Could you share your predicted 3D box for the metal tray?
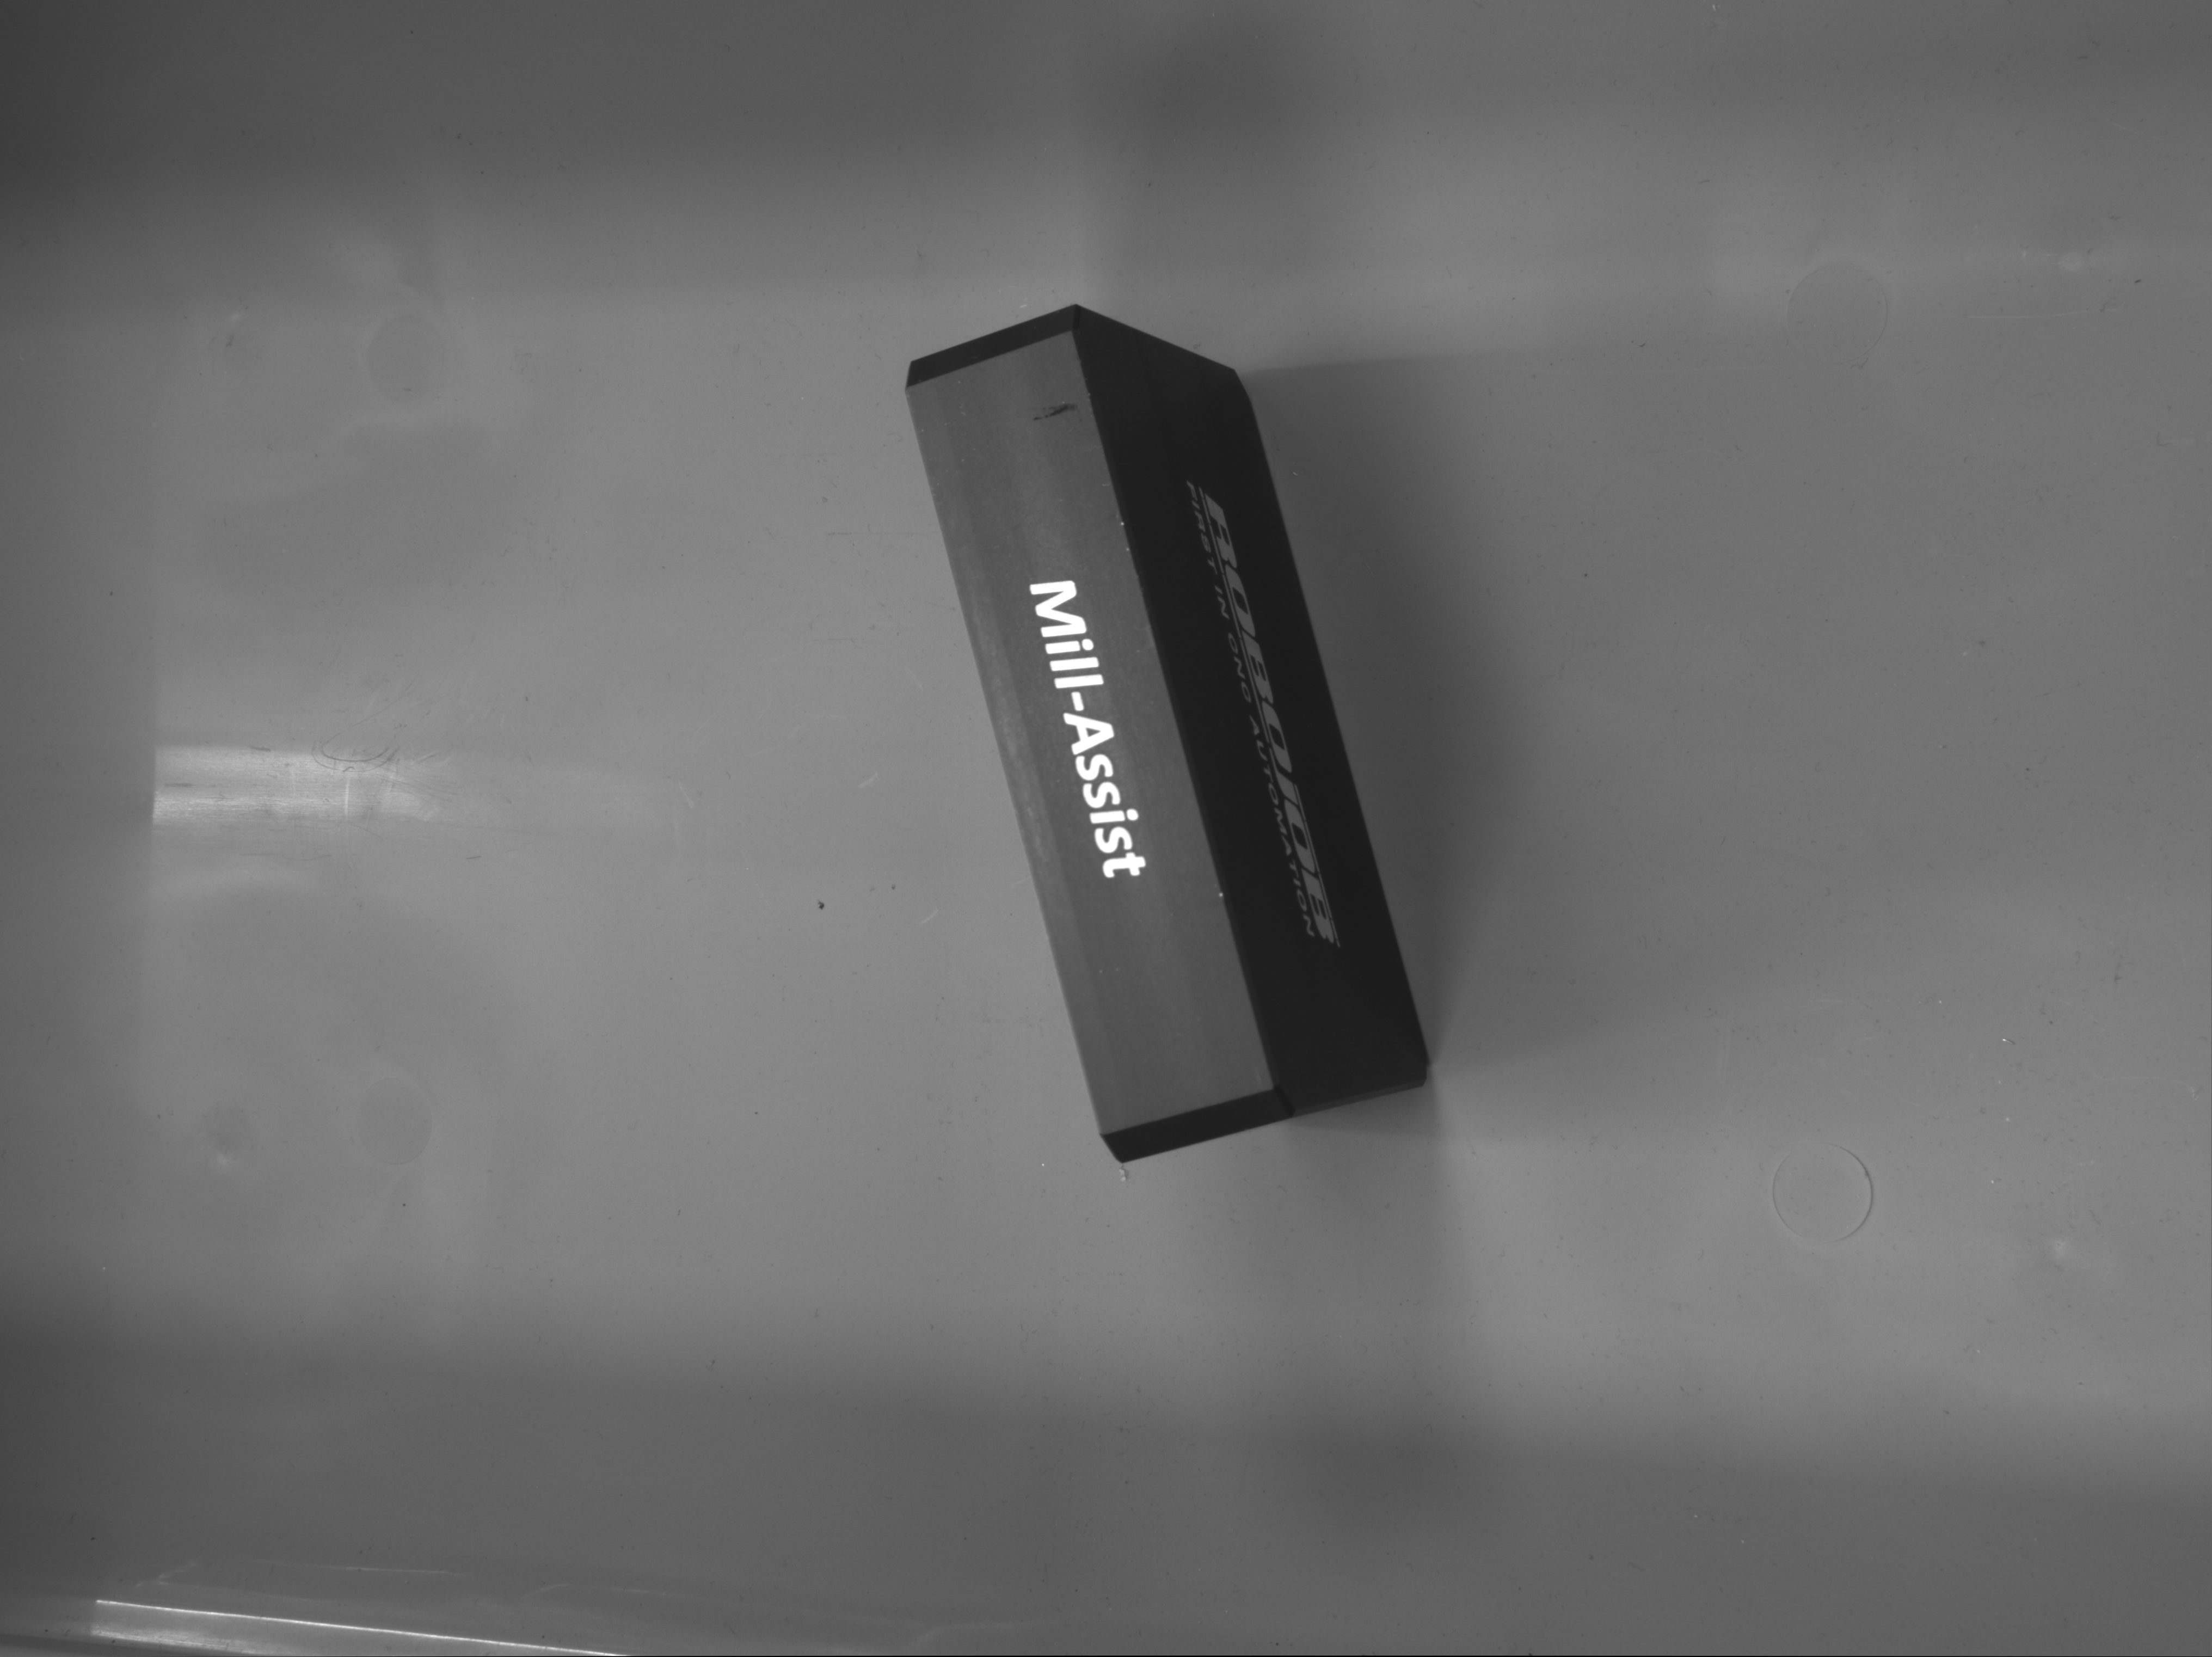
[{"bbox_3d":[0.012,-0.014,0.605,0.030,0.090,0.130,-17,85,18],"label":"metal tray"}]
